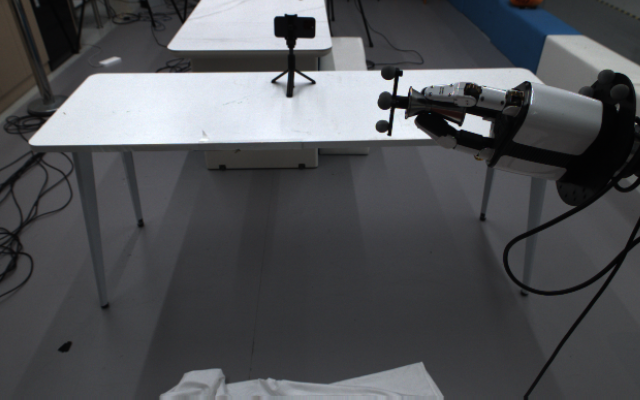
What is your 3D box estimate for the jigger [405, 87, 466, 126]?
[{"bbox_3d":[0.148,-0.120,0.596,0.071,0.043,0.043,6,35,4],"label":"jigger"}]
